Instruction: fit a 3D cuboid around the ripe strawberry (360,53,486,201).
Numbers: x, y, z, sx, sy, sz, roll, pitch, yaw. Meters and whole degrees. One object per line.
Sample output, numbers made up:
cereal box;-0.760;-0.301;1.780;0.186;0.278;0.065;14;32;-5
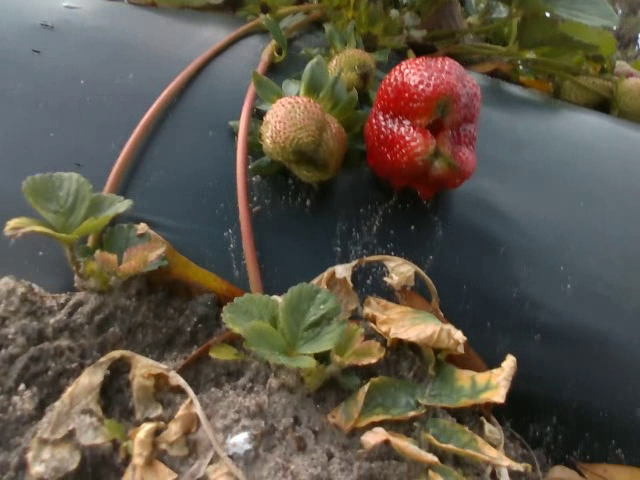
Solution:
ripe strawberry;0.042;-0.057;0.244;0.066;0.075;0.053;3;-28;-6
